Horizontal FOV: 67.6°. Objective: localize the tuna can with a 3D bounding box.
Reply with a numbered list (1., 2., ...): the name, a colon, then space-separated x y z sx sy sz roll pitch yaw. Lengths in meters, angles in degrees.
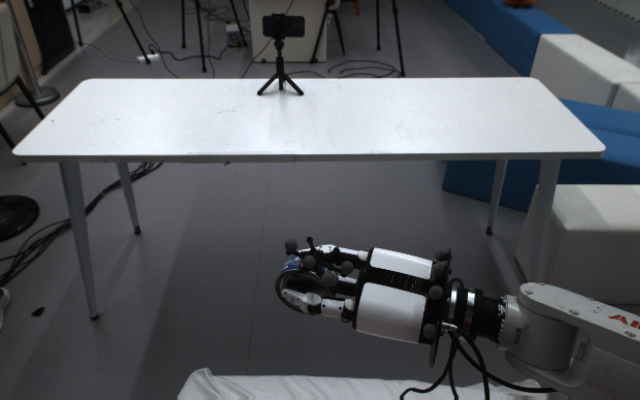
1. tuna can: -0.015 0.119 0.679 0.085 0.085 0.034 9 35 10
